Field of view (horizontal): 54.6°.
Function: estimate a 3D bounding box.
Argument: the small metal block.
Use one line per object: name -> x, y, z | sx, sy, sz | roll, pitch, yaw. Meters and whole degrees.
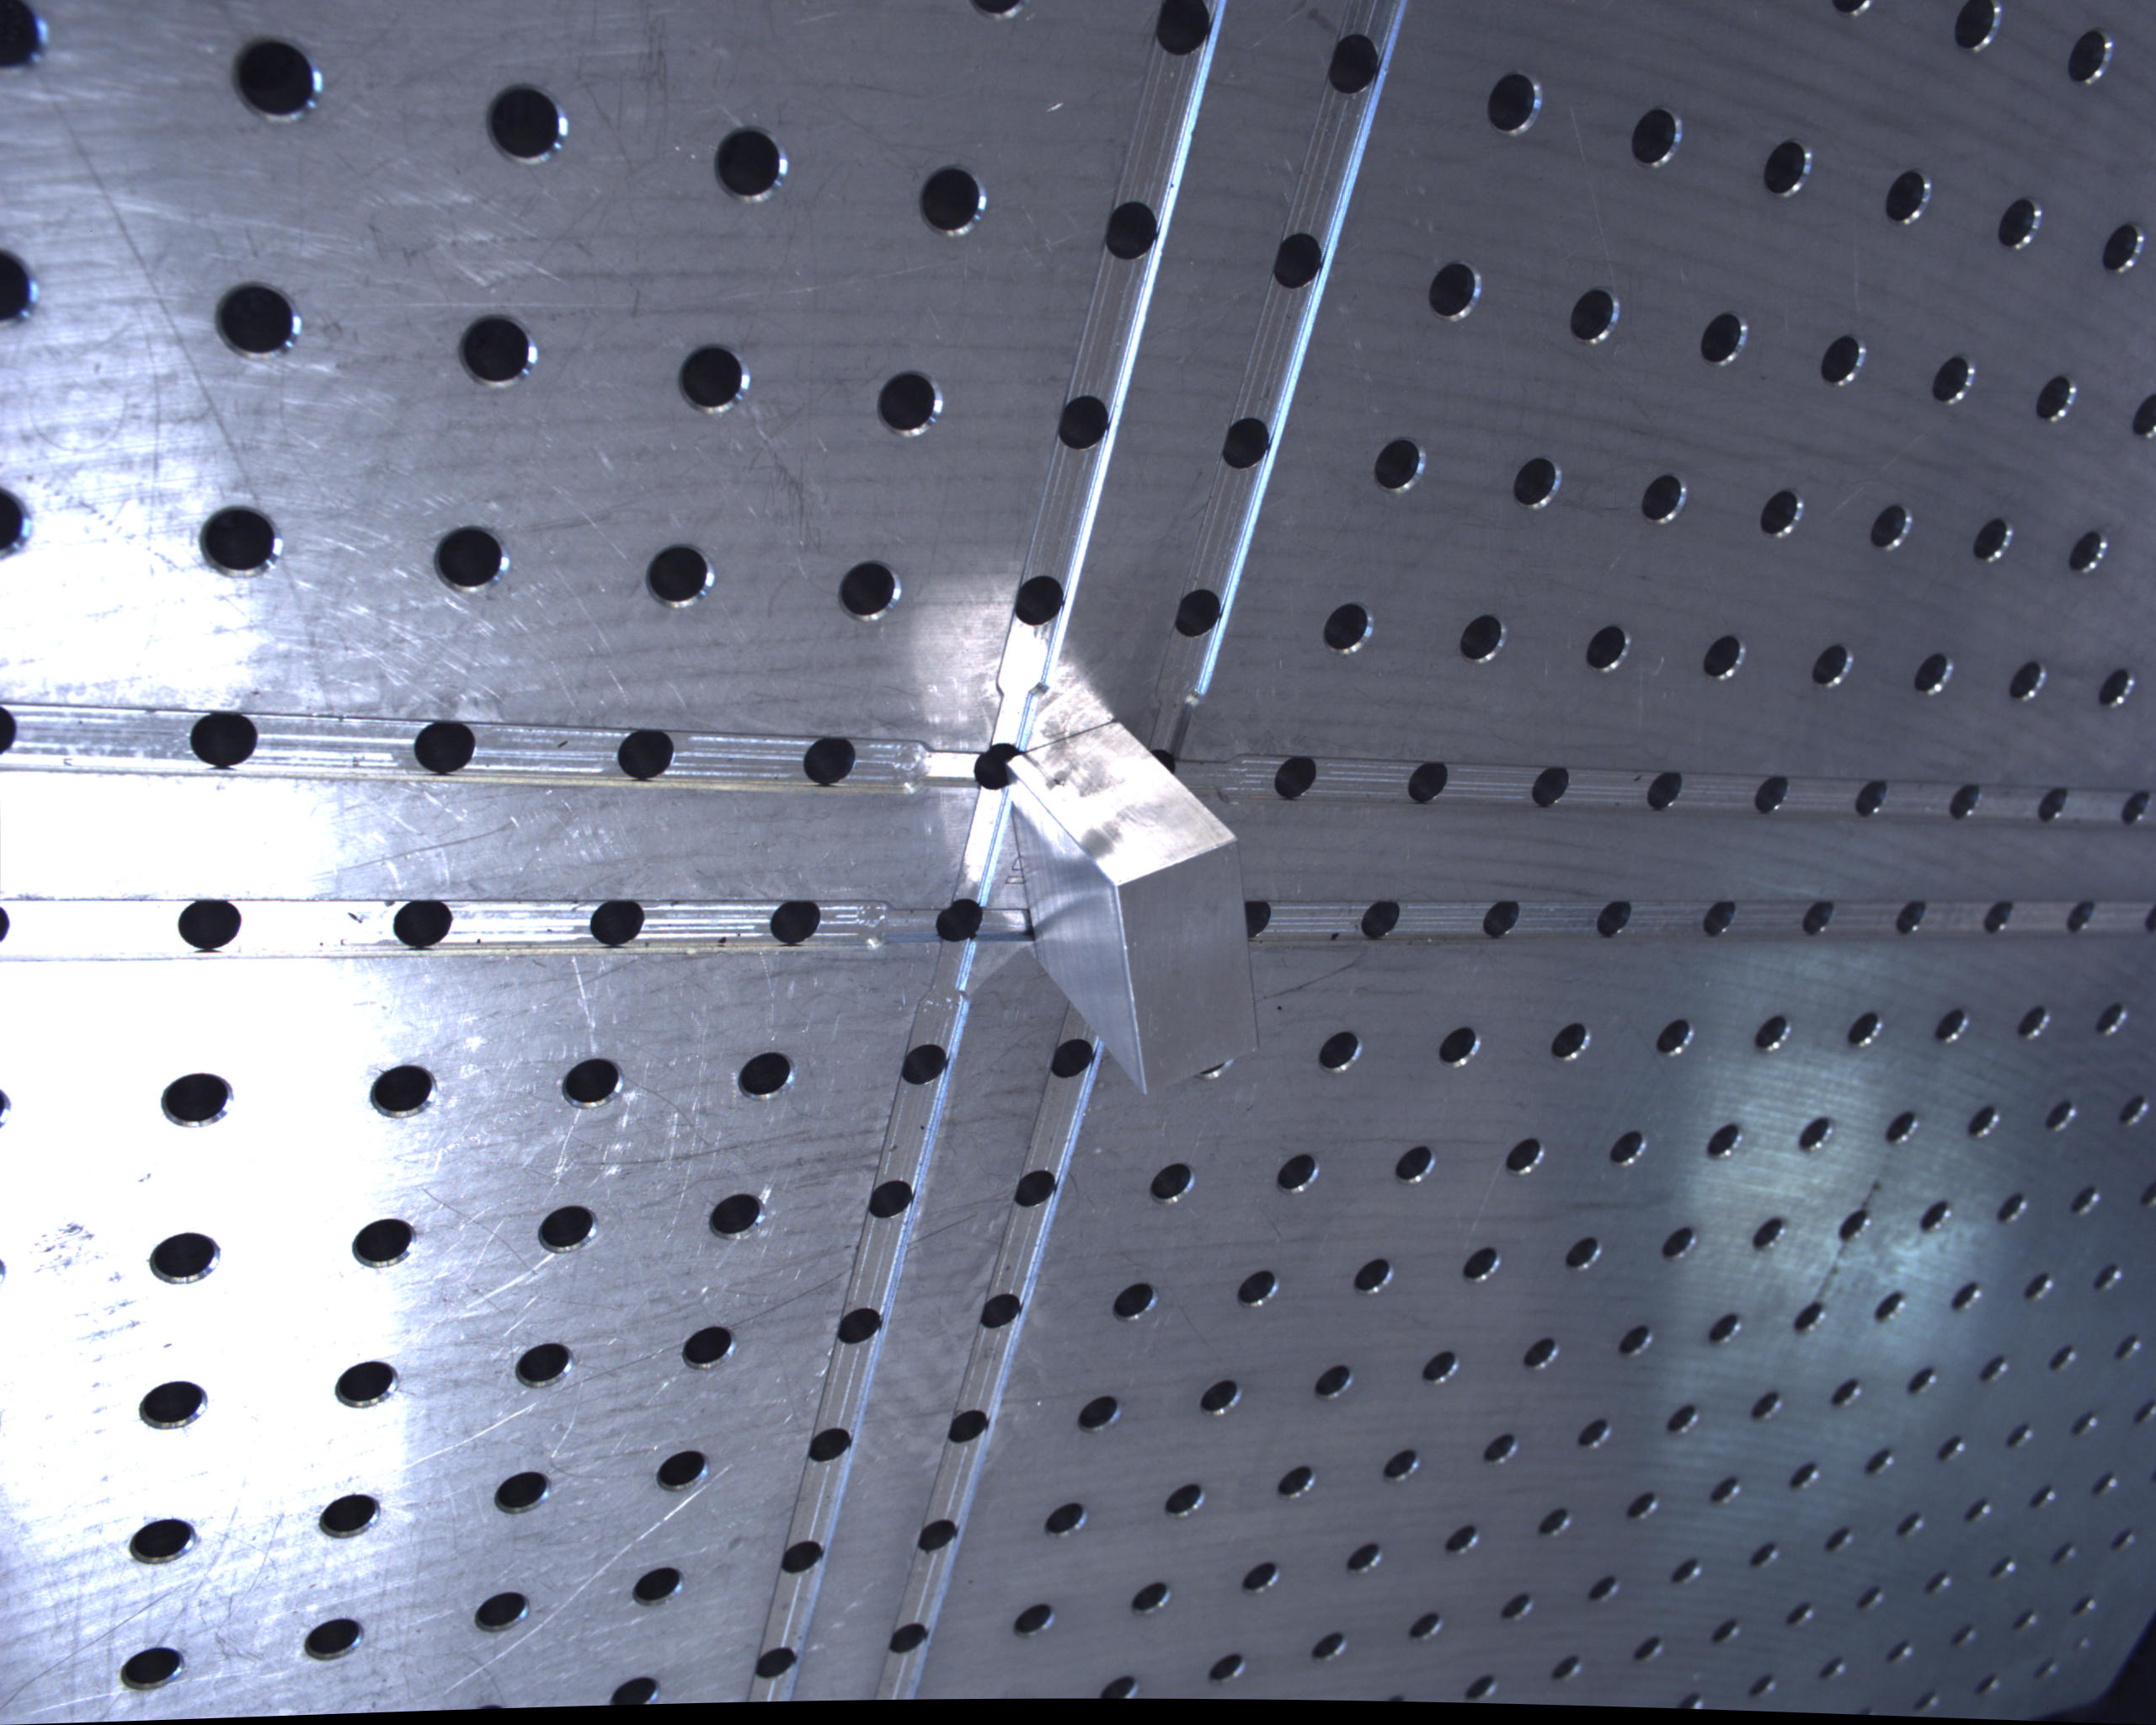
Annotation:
small metal block -> 0.010, 0.008, 0.405 | 0.025, 0.050, 0.050 | -21, 127, -16
